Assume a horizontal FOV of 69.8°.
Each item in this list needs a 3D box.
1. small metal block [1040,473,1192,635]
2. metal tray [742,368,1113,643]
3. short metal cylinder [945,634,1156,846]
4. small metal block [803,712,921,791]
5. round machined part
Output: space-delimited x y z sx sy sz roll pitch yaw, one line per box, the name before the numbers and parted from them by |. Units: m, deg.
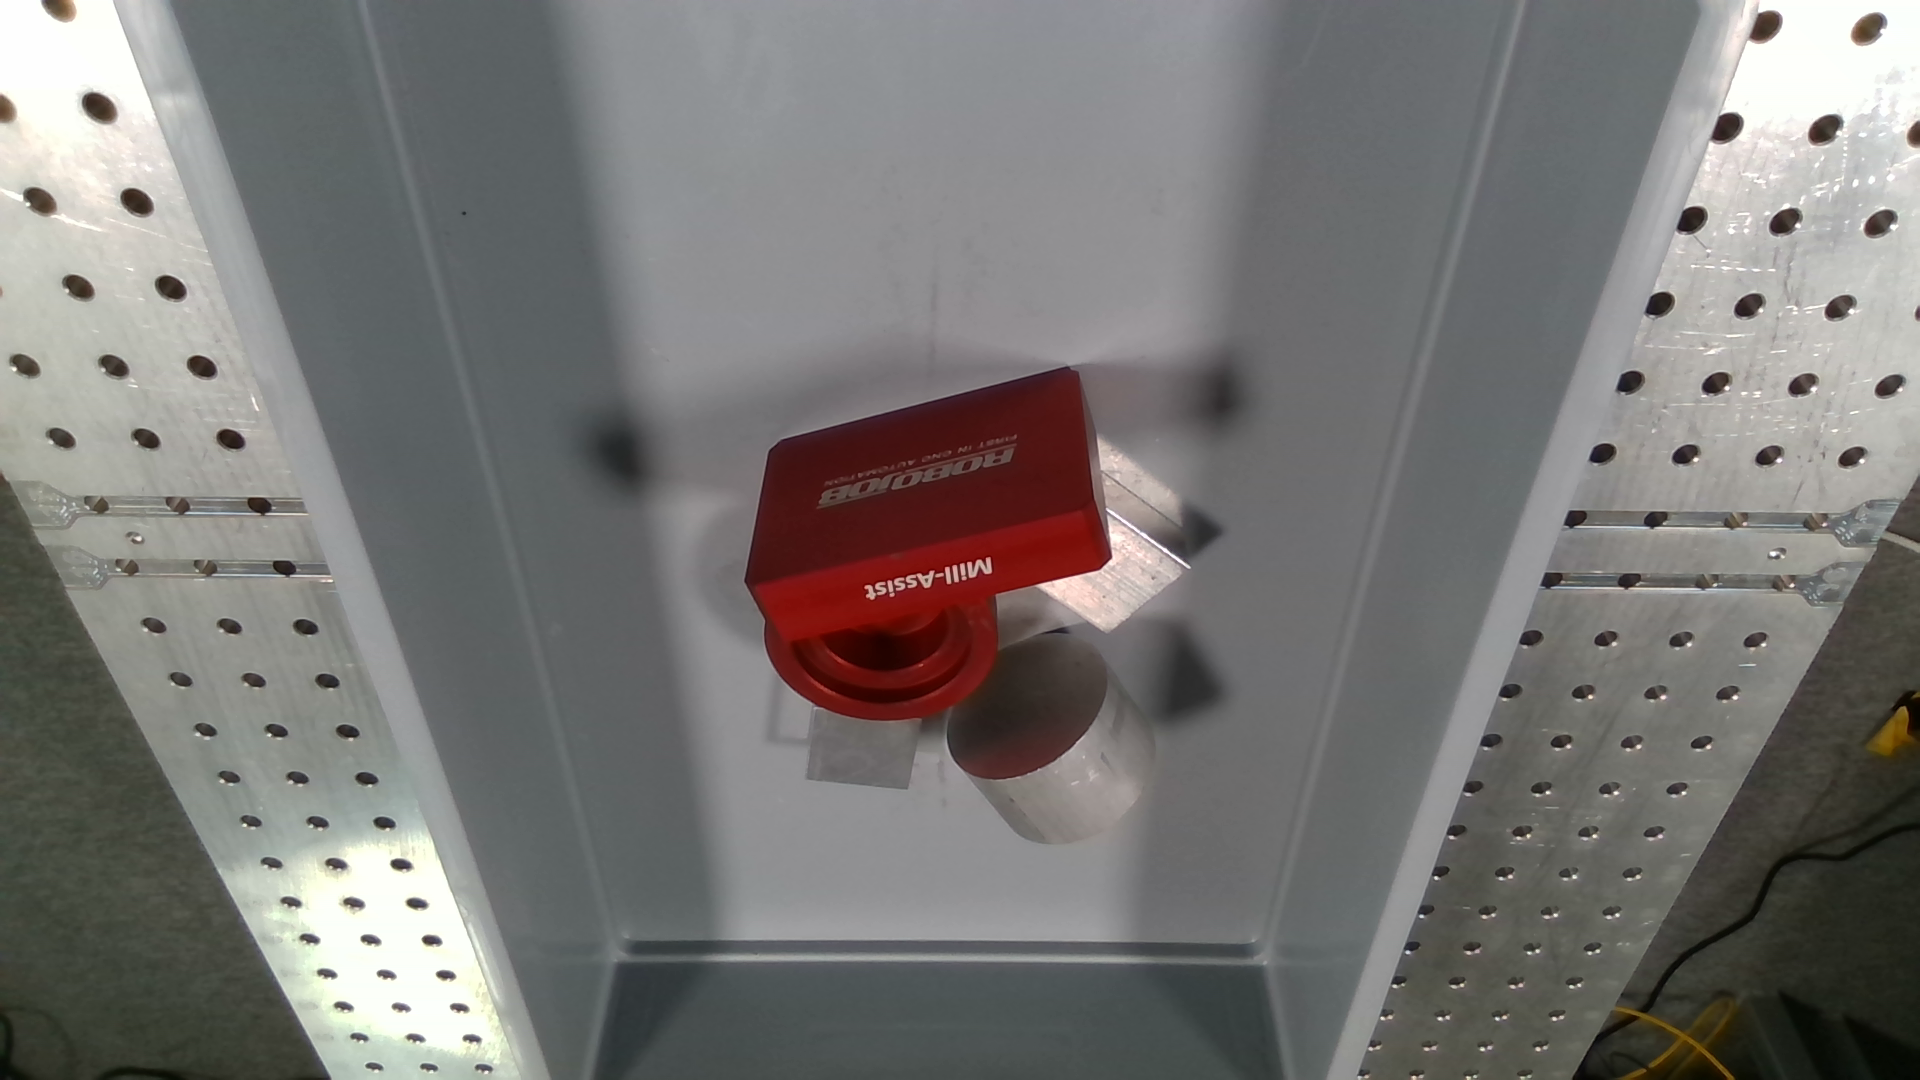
small metal block | 0.061 0.006 0.582 0.050 0.025 0.050 33 121 -24
metal tray | -0.012 -0.015 0.523 0.130 0.090 0.030 -13 128 11
short metal cylinder | 0.041 0.089 0.617 0.080 0.080 0.050 -23 126 18
small metal block | -0.046 0.091 0.654 0.050 0.025 0.050 7 128 -6
round machined part | -0.033 0.030 0.590 0.098 0.042 0.098 0 130 0
